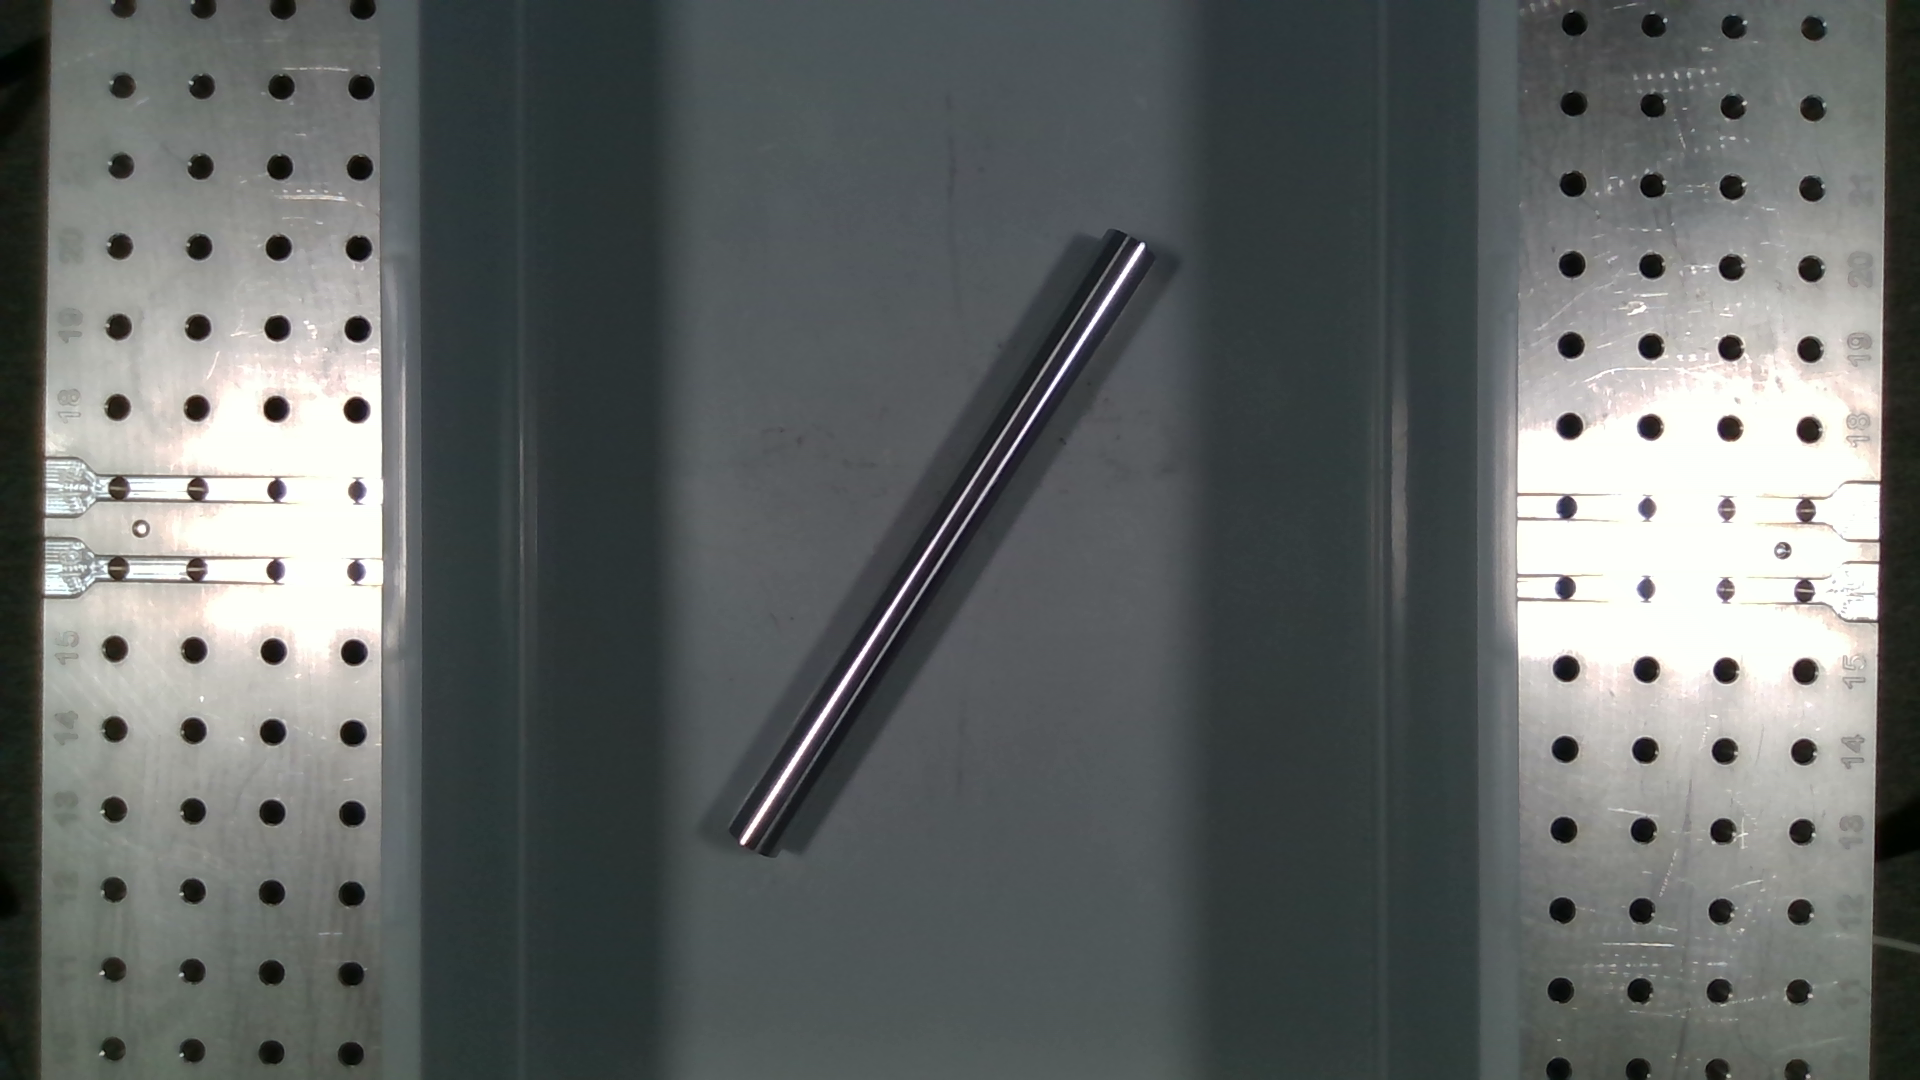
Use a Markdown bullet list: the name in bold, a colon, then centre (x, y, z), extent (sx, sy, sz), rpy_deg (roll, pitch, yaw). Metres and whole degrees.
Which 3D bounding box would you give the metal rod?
- **metal rod**: centre (-0.008, 0.001, 0.585), extent (0.025, 0.025, 0.300), rpy_deg (33, 90, 0)
